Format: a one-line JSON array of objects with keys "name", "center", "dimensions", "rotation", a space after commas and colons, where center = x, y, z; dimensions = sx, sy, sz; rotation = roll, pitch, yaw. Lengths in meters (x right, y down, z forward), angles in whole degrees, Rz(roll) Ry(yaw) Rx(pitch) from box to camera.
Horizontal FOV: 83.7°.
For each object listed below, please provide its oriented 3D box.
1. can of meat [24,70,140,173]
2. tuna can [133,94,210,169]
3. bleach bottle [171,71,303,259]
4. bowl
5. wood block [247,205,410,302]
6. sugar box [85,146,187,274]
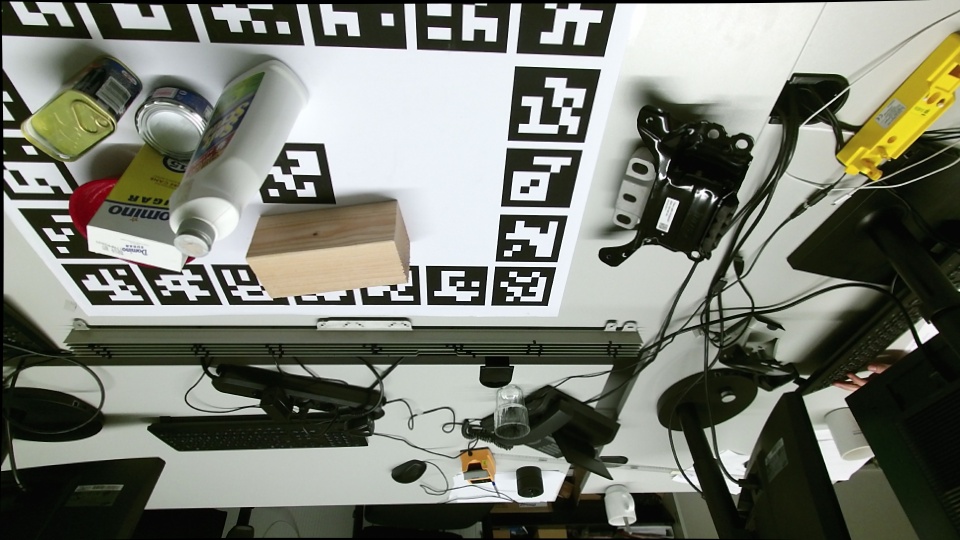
[{"name": "can of meat", "center": [-0.451, -0.172, 0.615], "dimensions": [0.102, 0.083, 0.058], "rotation": [-22, 136, 19]}, {"name": "tuna can", "center": [-0.367, -0.168, 0.651], "dimensions": [0.086, 0.033, 0.086], "rotation": [-2, 133, -3]}, {"name": "bleach bottle", "center": [-0.261, -0.112, 0.566], "dimensions": [0.103, 0.249, 0.068], "rotation": [-19, 135, 15]}, {"name": "bowl", "center": [-0.473, -0.061, 0.742], "dimensions": [0.162, 0.055, 0.162], "rotation": [-5, 136, -4]}, {"name": "wood block", "center": [-0.215, -0.022, 0.780], "dimensions": [0.207, 0.089, 0.091], "rotation": [-7, 131, 4]}, {"name": "sugar box", "center": [-0.388, -0.075, 0.644], "dimensions": [0.093, 0.175, 0.045], "rotation": [12, 131, -21]}]
